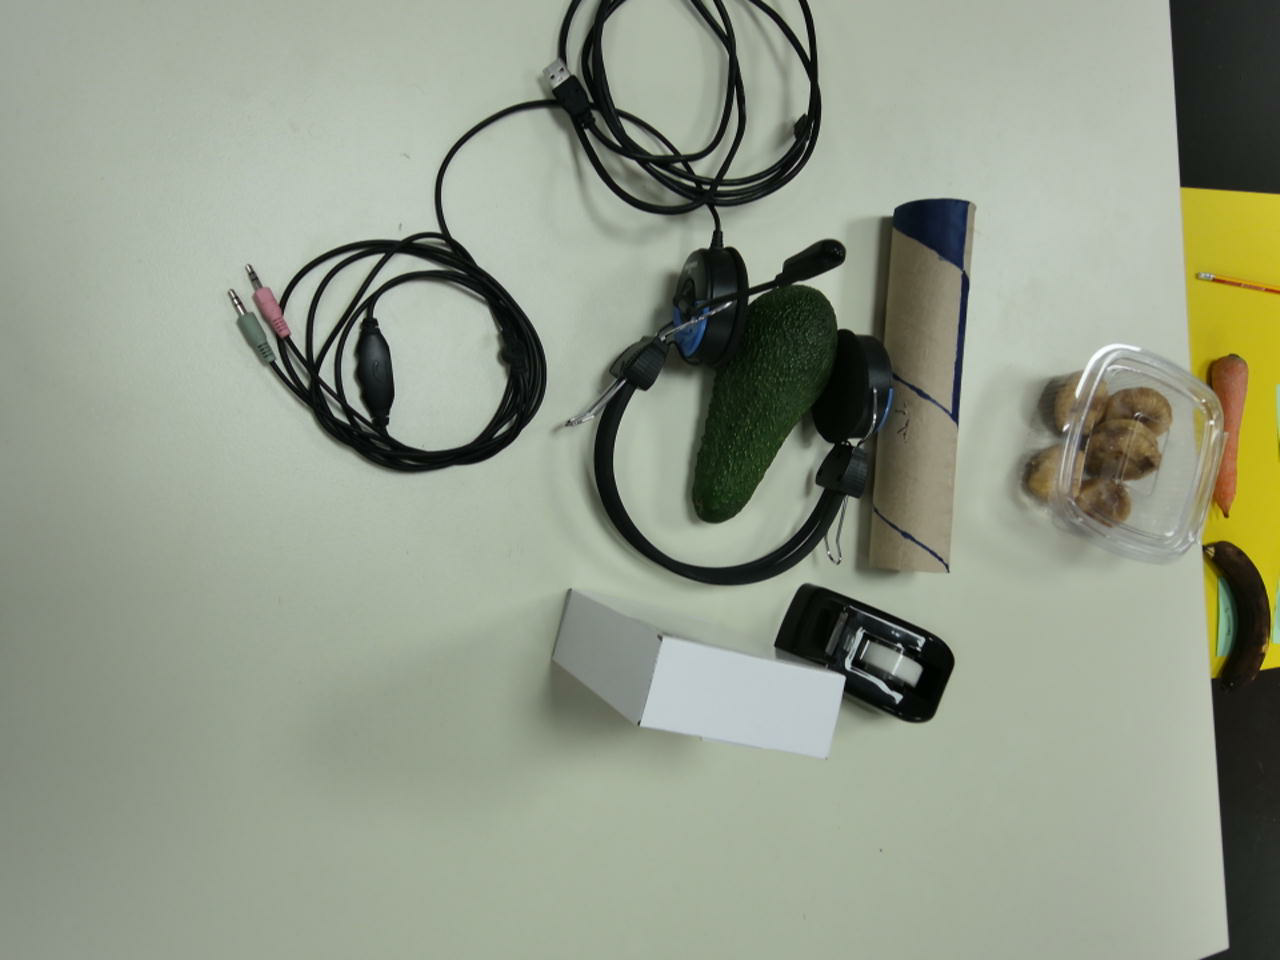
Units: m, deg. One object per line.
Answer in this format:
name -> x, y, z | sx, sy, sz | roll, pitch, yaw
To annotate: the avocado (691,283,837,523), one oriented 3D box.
avocado -> 0.072, -0.041, 0.557 | 0.063, 0.067, 0.141 | 11, 87, -22
